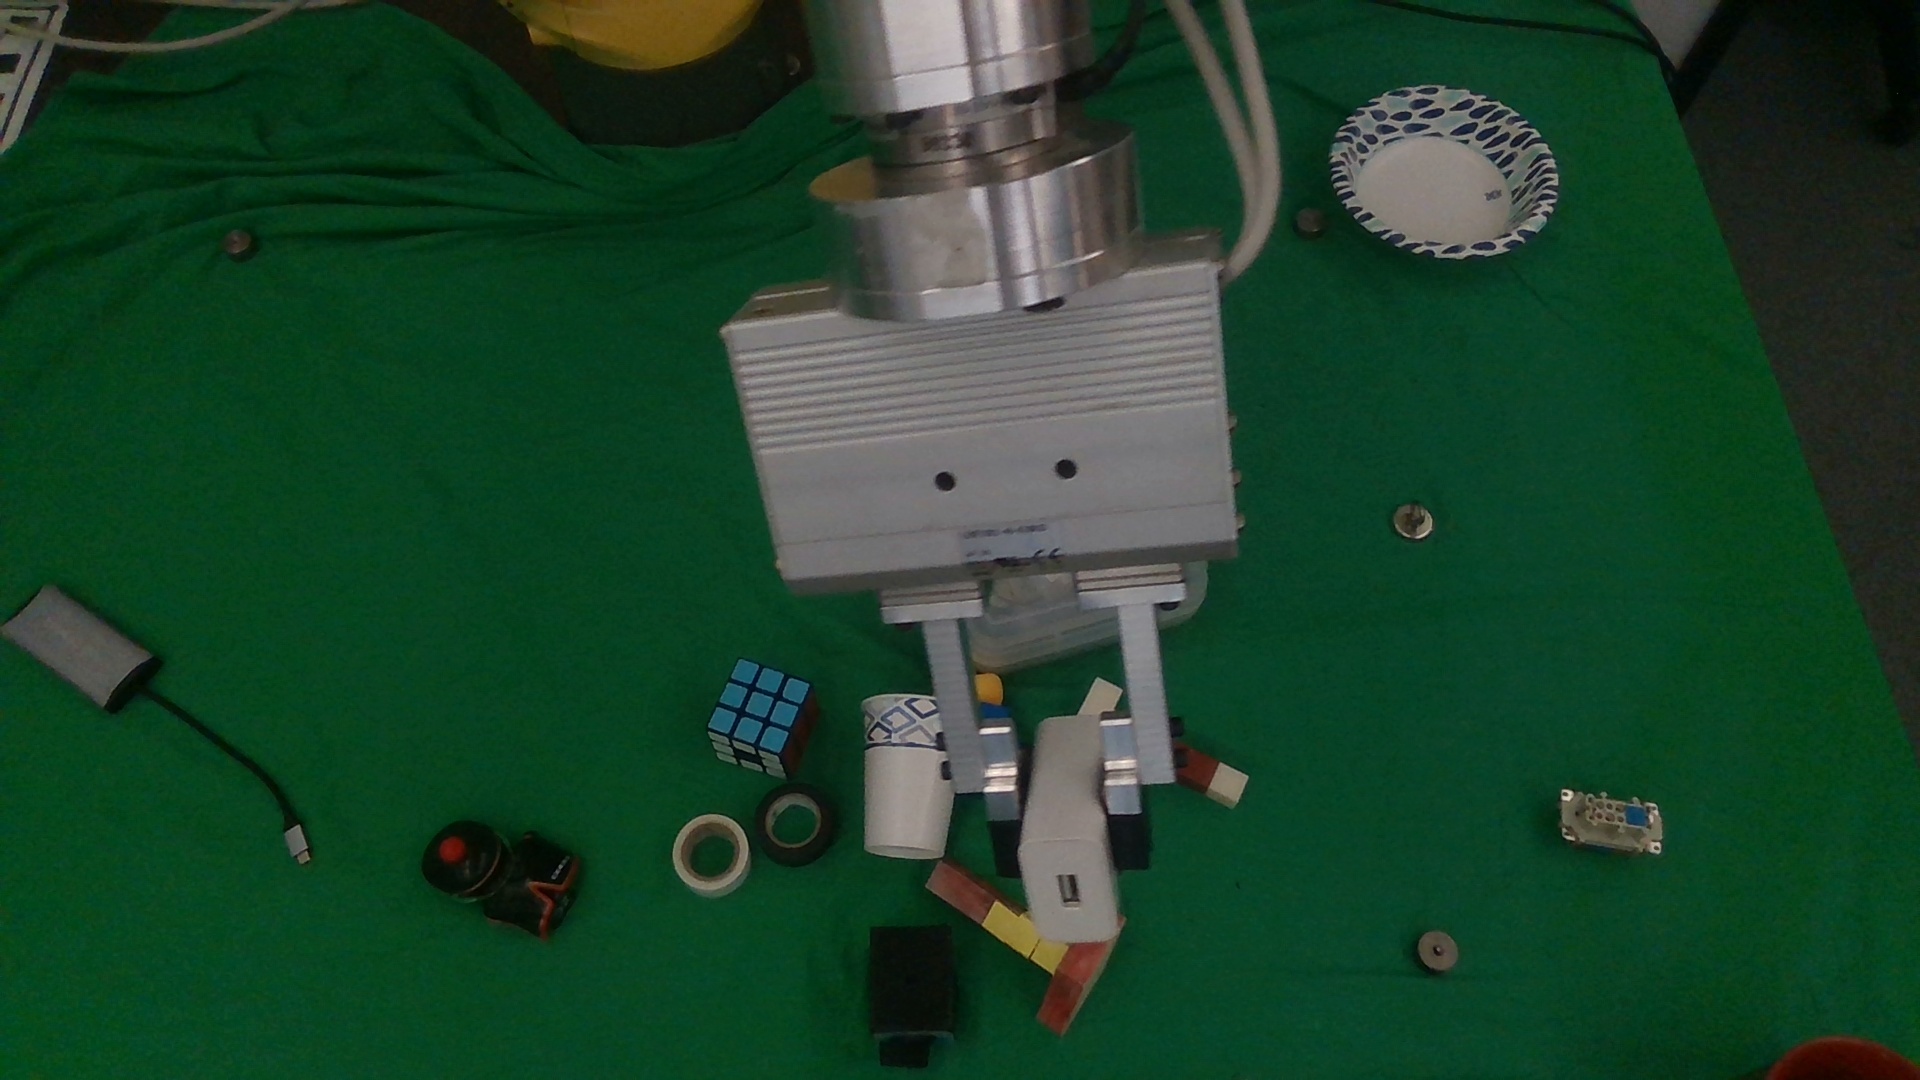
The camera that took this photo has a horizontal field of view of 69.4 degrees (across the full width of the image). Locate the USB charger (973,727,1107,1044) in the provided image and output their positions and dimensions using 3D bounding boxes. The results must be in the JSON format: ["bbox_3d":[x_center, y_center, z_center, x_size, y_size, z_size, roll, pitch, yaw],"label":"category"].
[{"bbox_3d":[0.018,0.074,0.322,0.029,0.044,0.075,-1,36,3],"label":"USB charger"}]

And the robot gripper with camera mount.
[{"bbox_3d":[0.019,-0.010,0.347,0.119,0.158,0.193,-2,25,13],"label":"robot gripper with camera mount"}]
